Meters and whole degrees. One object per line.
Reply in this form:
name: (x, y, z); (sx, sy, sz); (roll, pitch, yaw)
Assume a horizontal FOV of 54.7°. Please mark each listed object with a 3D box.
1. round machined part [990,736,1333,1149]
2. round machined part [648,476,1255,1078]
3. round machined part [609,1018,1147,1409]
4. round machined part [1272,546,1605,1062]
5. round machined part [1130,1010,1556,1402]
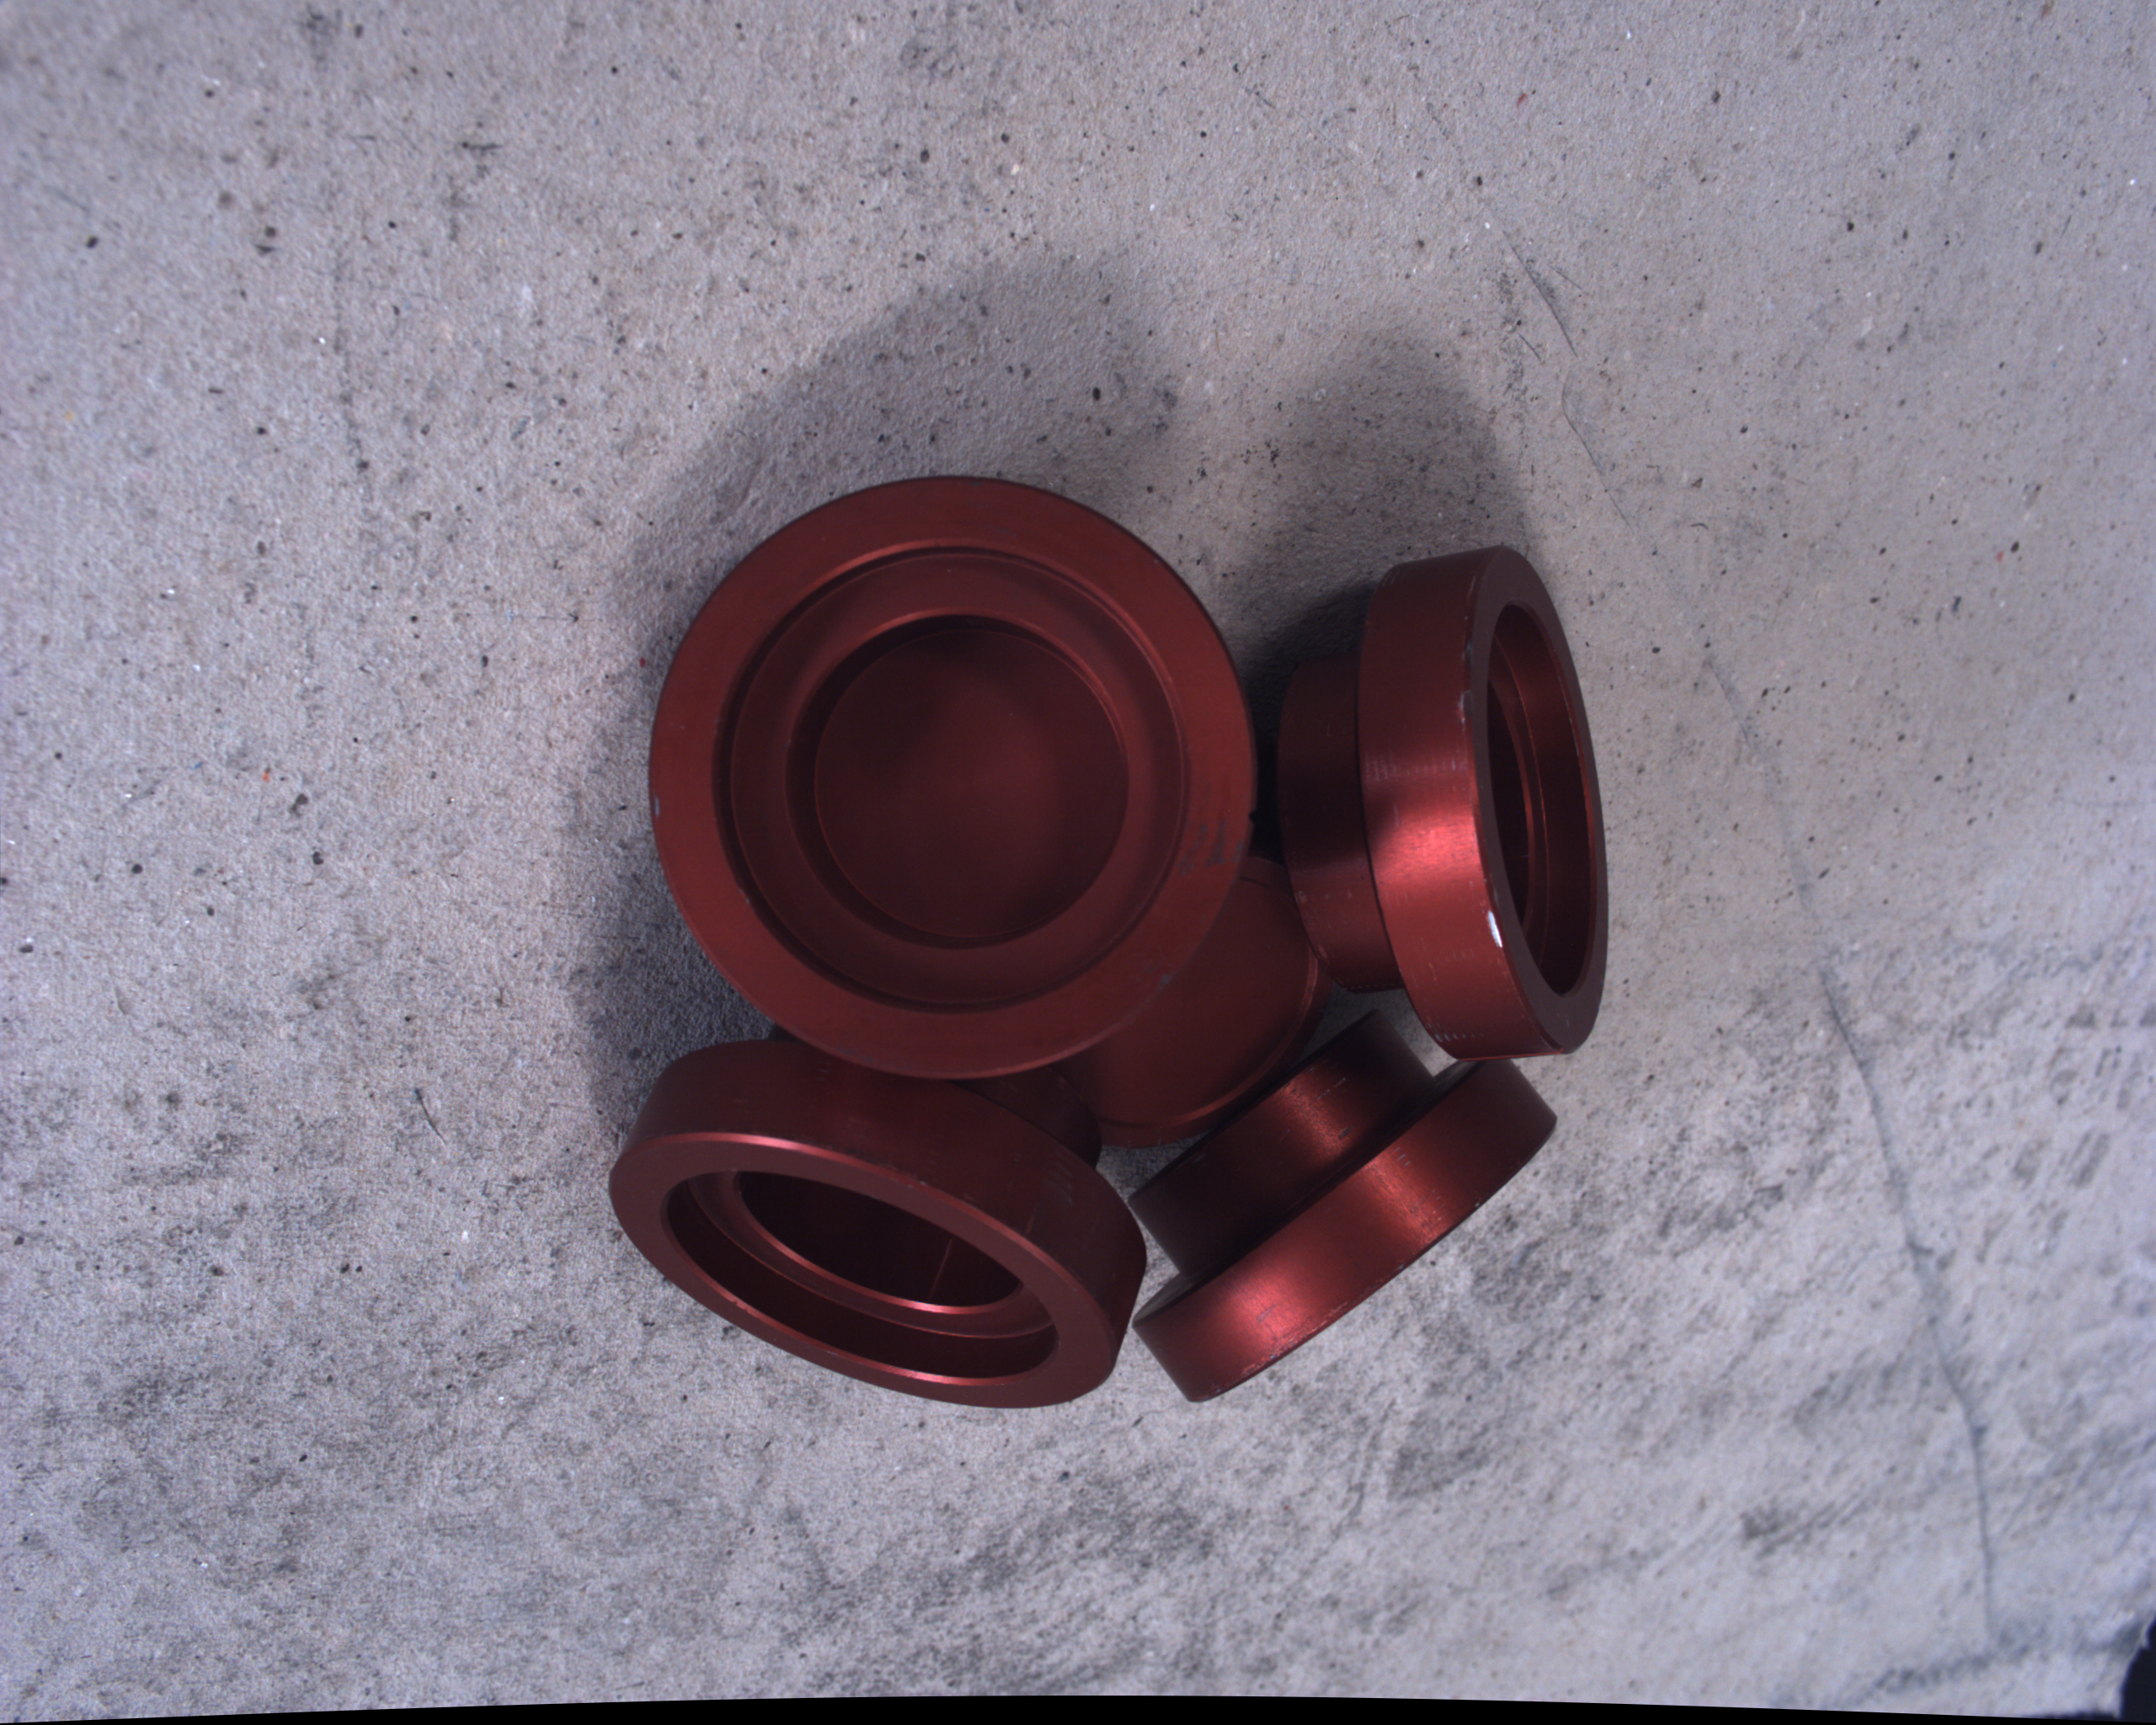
round machined part: (0.012, 0.017, 0.414); (0.099, 0.042, 0.097); (-14, 123, -23)
round machined part: (-0.020, -0.014, 0.357); (0.099, 0.042, 0.097); (0, 90, 2)
round machined part: (-0.034, 0.061, 0.394); (0.098, 0.098, 0.042); (55, 42, -39)
round machined part: (0.070, -0.010, 0.407); (0.042, 0.098, 0.098); (-8, 134, 26)
round machined part: (0.050, 0.068, 0.445); (0.098, 0.042, 0.098); (-37, 172, -5)
